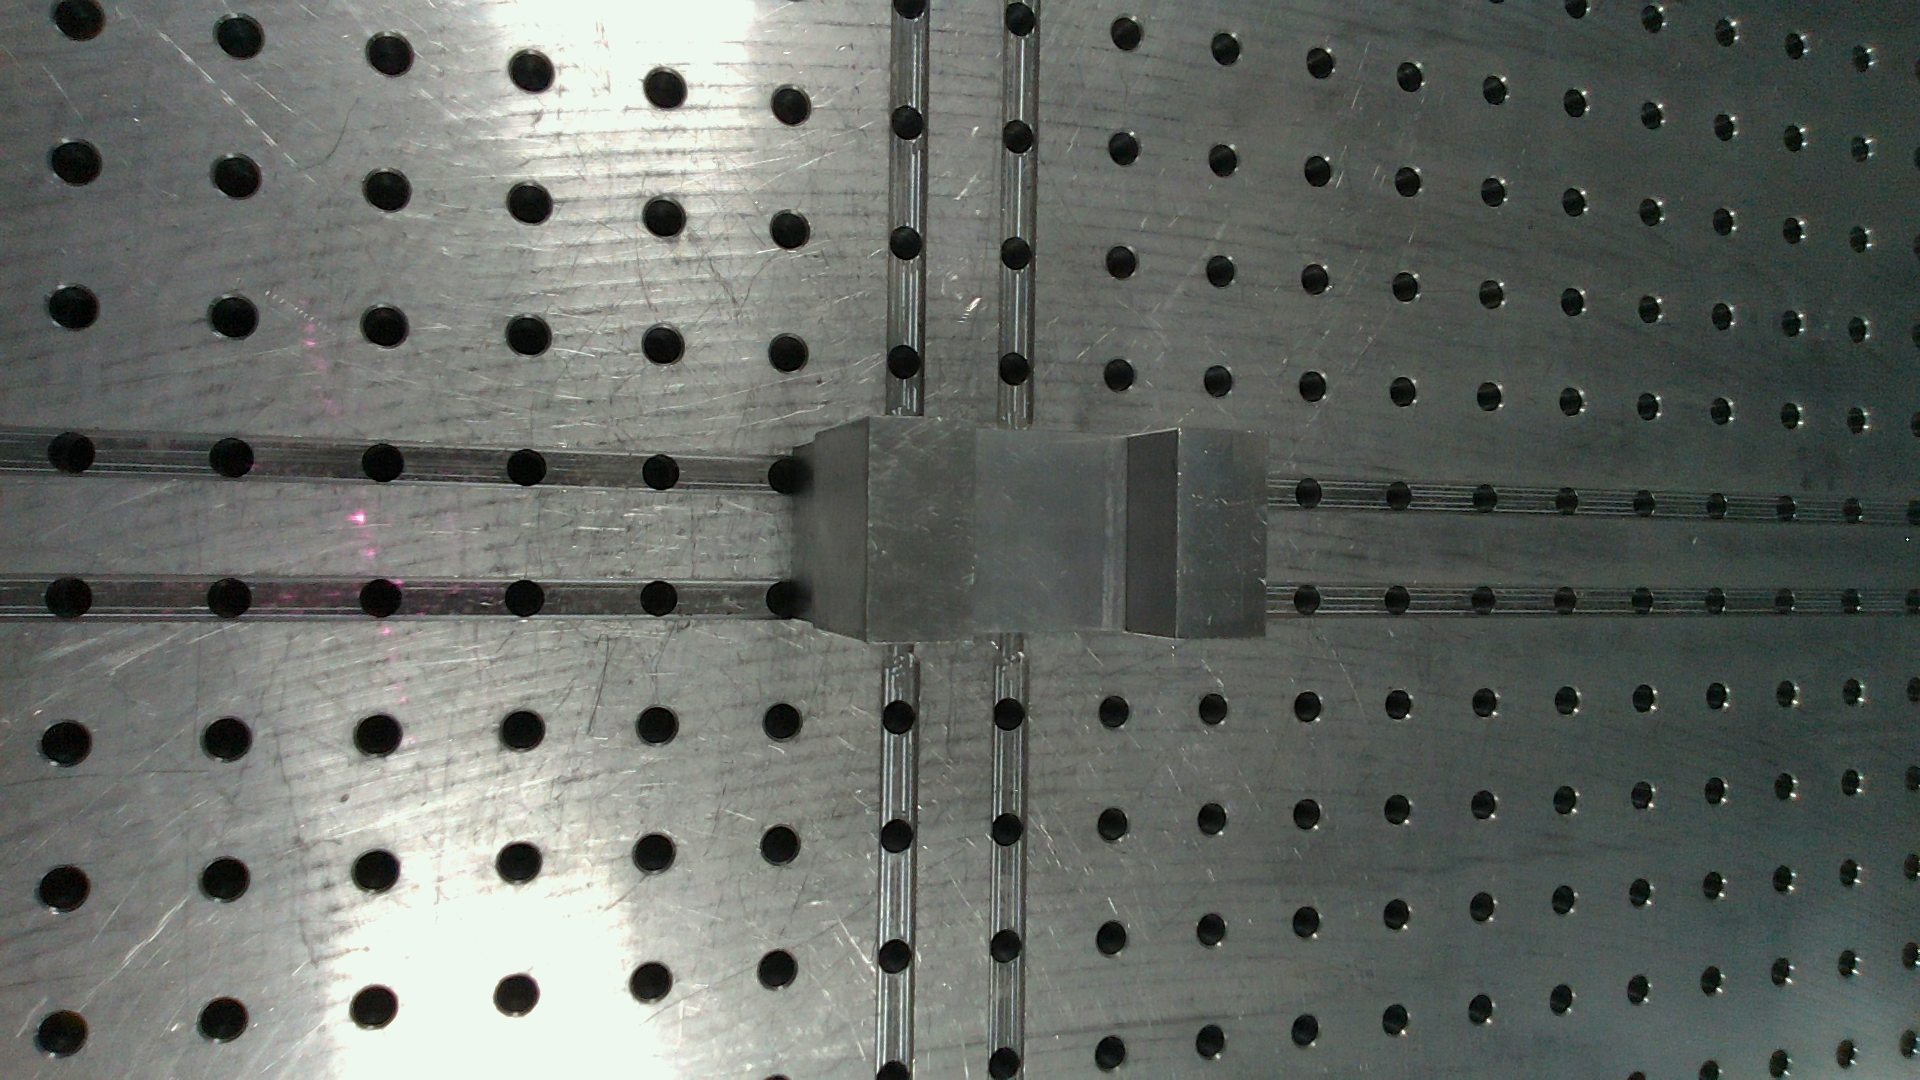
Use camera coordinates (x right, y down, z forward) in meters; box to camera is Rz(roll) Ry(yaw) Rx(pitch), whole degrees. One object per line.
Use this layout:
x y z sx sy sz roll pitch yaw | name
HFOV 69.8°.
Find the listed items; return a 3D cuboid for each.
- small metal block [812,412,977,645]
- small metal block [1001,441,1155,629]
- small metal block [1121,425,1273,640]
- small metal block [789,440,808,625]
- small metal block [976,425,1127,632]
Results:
-0.017 -0.002 0.323 0.025 0.050 0.050 1 89 -19 | small metal block
0.033 -0.001 0.394 0.025 0.050 0.050 -1 90 -20 | small metal block
0.055 -0.001 0.348 0.025 0.050 0.050 1 89 -19 | small metal block
-0.028 -0.002 0.372 0.025 0.050 0.050 1 90 -20 | small metal block
0.014 -0.003 0.349 0.050 0.025 0.050 1 90 -20 | small metal block
